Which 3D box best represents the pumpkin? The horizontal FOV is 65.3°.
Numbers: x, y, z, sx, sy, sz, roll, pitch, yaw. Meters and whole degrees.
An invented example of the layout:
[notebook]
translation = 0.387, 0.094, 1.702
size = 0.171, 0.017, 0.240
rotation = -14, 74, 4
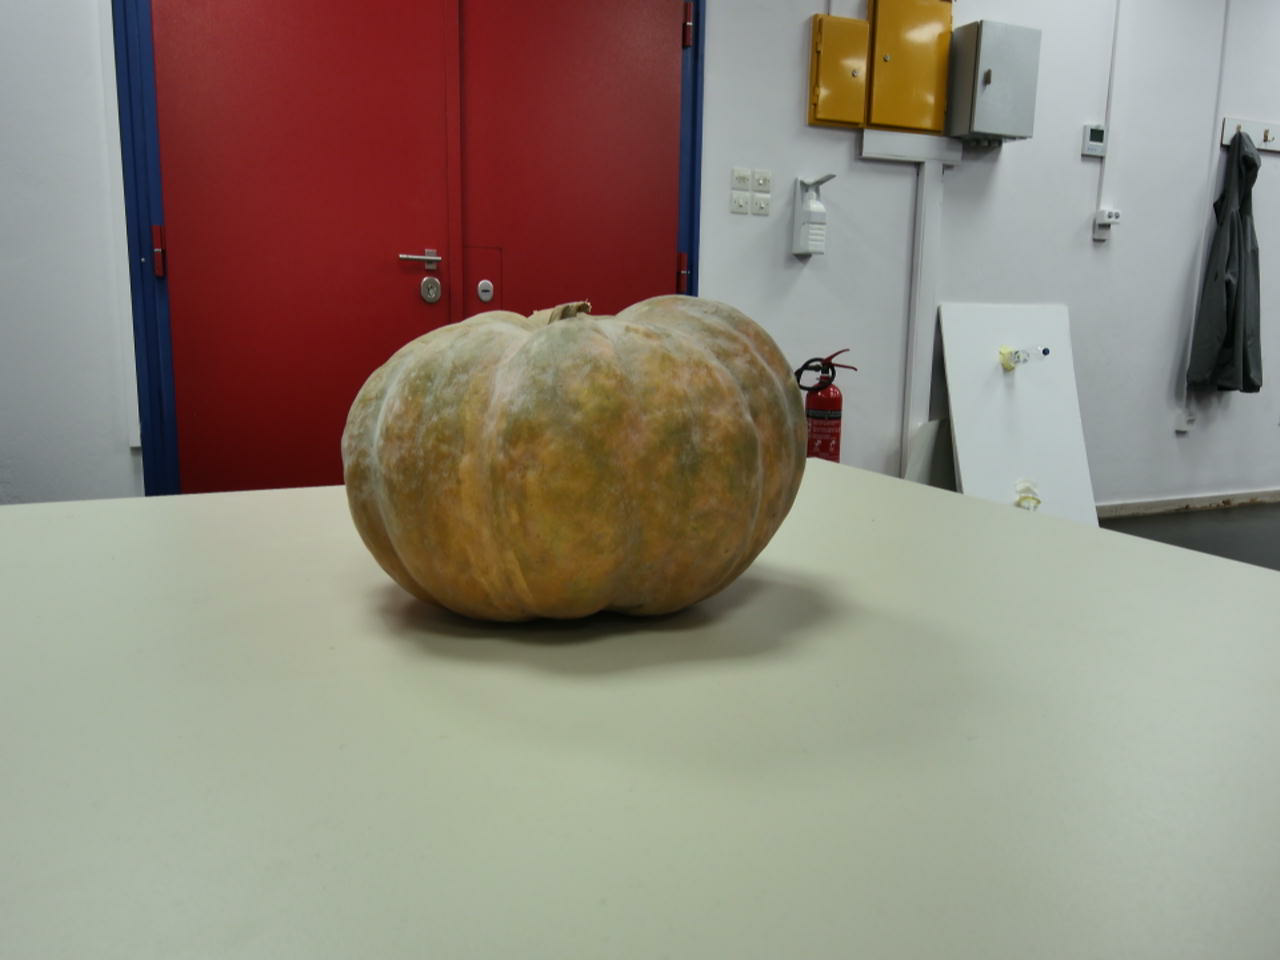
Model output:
[pumpkin]
translation = -0.037, -0.017, 0.545
size = 0.252, 0.168, 0.252
rotation = 0, 8, 0
